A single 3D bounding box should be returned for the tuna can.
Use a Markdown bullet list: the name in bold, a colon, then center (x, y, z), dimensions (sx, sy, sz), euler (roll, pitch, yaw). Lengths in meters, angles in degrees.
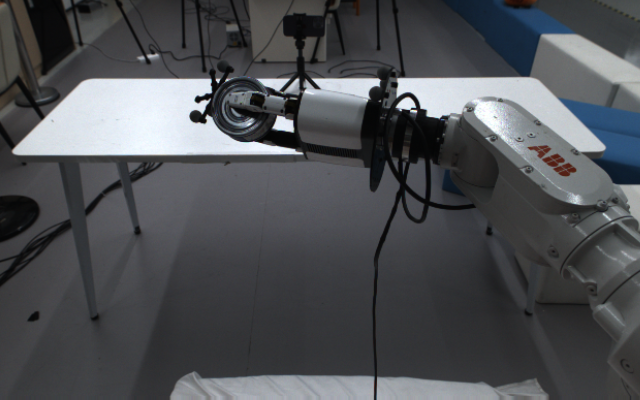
- **tuna can**: center (-0.101, -0.121, 0.659), dimensions (0.085, 0.085, 0.034), euler (9, -3, 10)
